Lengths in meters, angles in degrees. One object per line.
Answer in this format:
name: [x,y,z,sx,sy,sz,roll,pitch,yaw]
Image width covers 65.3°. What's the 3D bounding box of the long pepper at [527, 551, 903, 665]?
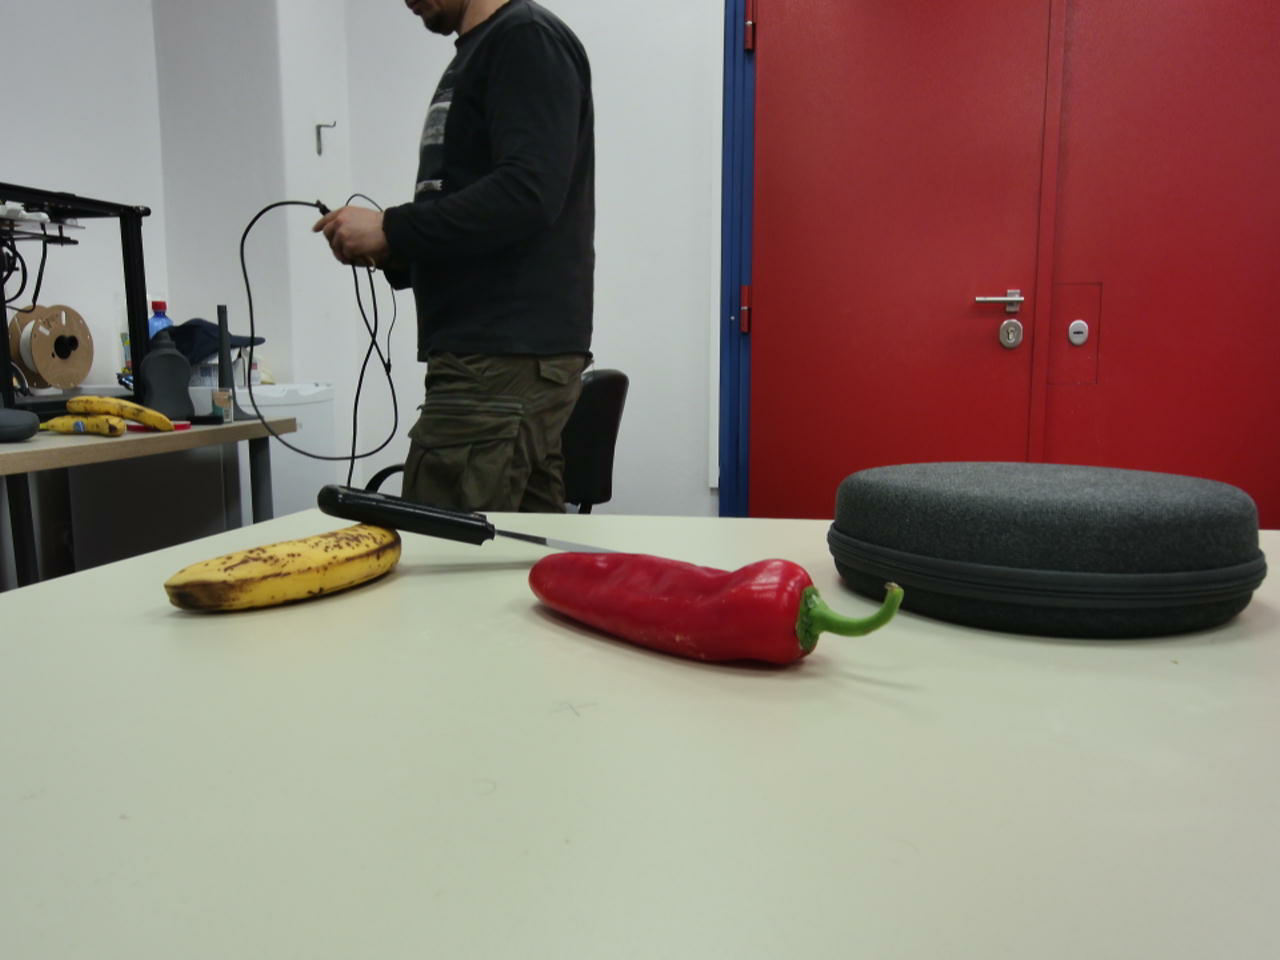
long pepper: [0.015,0.052,0.443,0.211,0.043,0.050,4,5,44]
